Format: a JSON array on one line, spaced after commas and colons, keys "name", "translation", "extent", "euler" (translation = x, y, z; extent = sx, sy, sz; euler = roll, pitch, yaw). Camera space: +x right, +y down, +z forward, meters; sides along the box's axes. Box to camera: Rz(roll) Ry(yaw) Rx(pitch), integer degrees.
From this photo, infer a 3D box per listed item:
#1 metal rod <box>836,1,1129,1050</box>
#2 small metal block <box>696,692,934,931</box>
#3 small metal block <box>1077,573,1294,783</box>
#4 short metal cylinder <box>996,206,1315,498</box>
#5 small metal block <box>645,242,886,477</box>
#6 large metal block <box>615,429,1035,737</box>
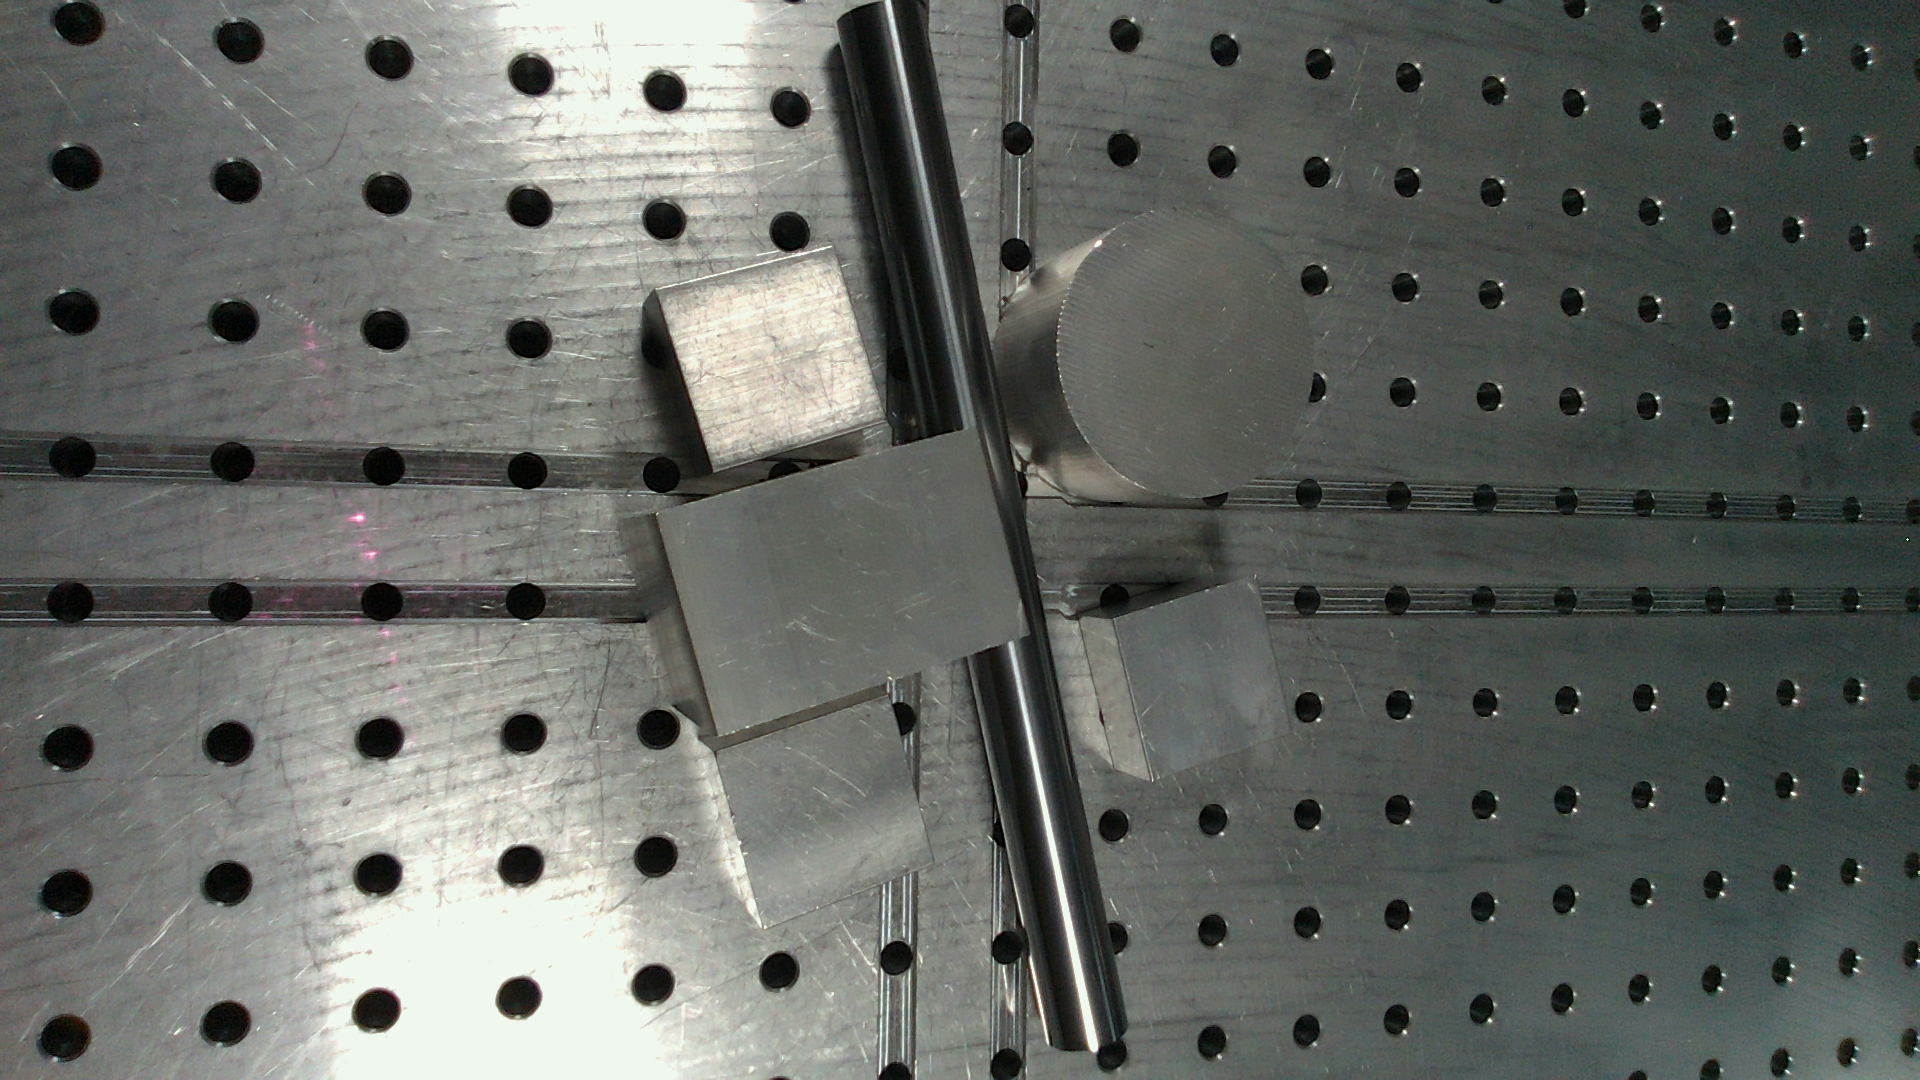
[{"name": "metal rod", "translation": [0.008, -0.001, 0.398], "extent": [0.025, 0.025, 0.300], "euler": [-13, 95, -19]}, {"name": "small metal block", "translation": [-0.040, 0.073, 0.381], "extent": [0.050, 0.025, 0.050], "euler": [-17, 96, -19]}, {"name": "small metal block", "translation": [0.069, 0.041, 0.421], "extent": [0.050, 0.025, 0.050], "euler": [-16, 95, -19]}, {"name": "short metal cylinder", "translation": [0.055, -0.052, 0.402], "extent": [0.080, 0.050, 0.080], "euler": [0, 90, -20]}, {"name": "small metal block", "translation": [-0.054, -0.049, 0.376], "extent": [0.050, 0.025, 0.050], "euler": [-19, 96, -19]}, {"name": "large metal block", "translation": [-0.038, 0.009, 0.351], "extent": [0.080, 0.080, 0.050], "euler": [-16, 96, -19]}]
